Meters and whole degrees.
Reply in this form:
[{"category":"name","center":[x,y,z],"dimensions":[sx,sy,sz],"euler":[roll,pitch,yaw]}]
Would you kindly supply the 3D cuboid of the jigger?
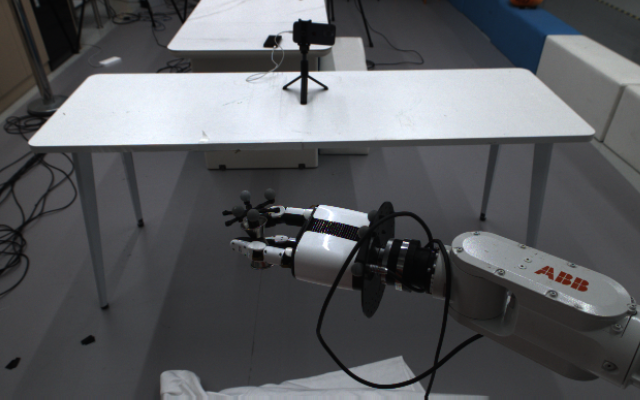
[{"category":"jigger","center":[-0.087,0.061,0.717],"dimensions":[0.043,0.071,0.043],"euler":[-10,24,5]}]
